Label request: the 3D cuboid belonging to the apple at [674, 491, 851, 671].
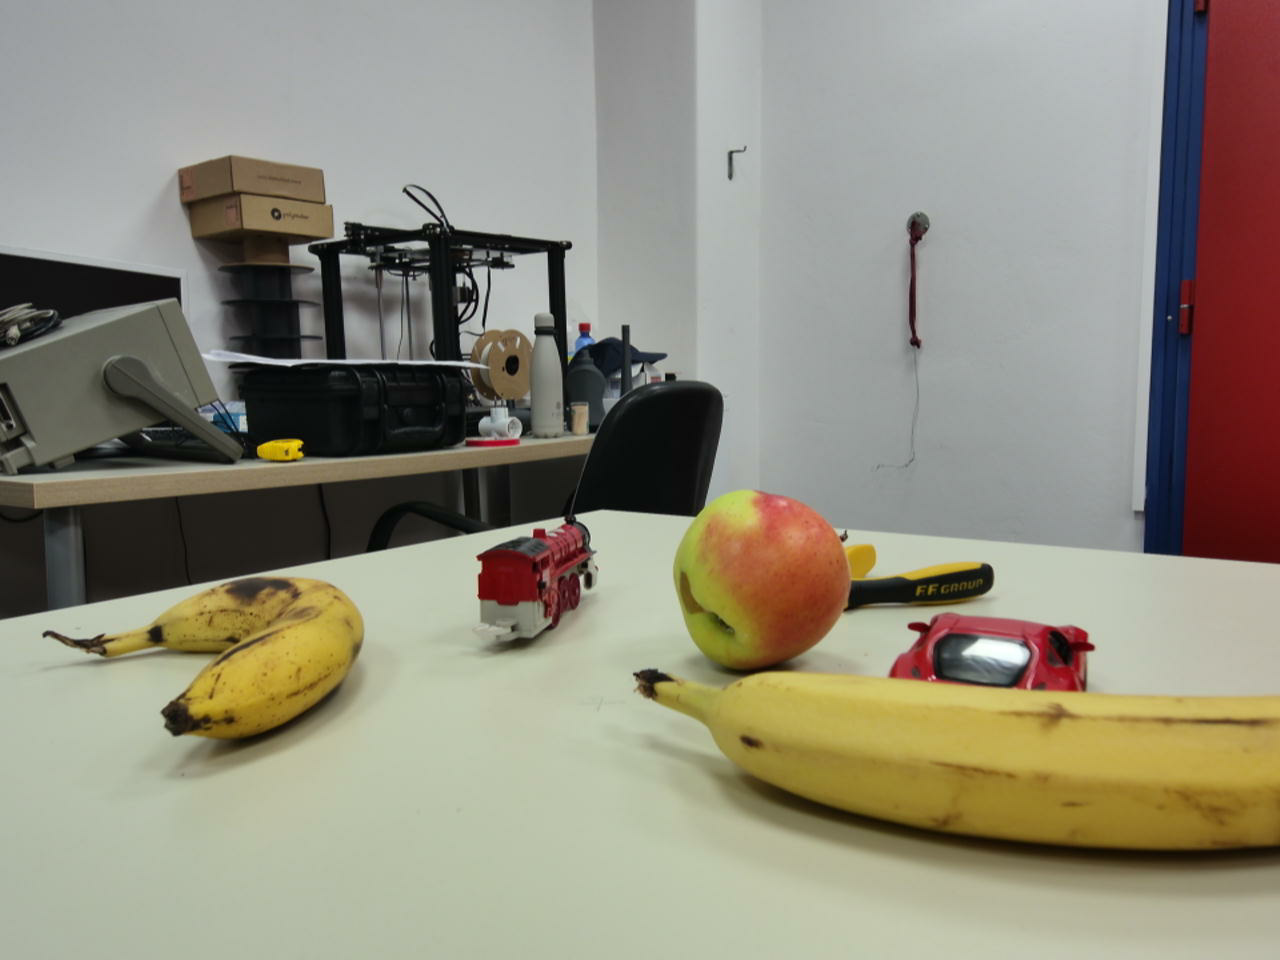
[{"bbox_3d":[0.051,0.044,0.433,0.075,0.074,0.075,0,3,17],"label":"apple"}]
